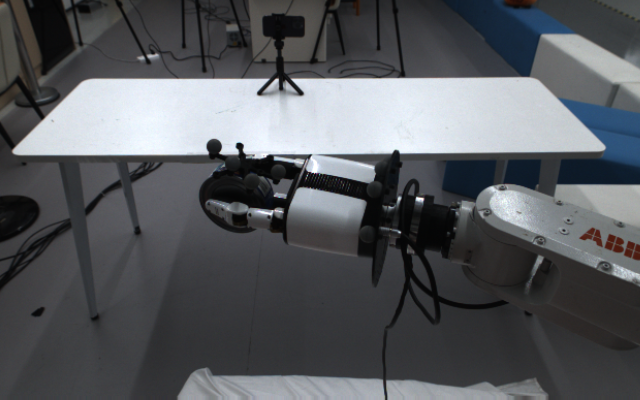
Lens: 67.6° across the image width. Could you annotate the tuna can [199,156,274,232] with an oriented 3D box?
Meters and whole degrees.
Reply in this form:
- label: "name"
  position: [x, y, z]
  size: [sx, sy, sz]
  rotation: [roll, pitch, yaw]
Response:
- label: "tuna can"
  position: [-0.100, -0.002, 0.592]
  size: [0.085, 0.085, 0.034]
  rotation: [9, 35, 10]
